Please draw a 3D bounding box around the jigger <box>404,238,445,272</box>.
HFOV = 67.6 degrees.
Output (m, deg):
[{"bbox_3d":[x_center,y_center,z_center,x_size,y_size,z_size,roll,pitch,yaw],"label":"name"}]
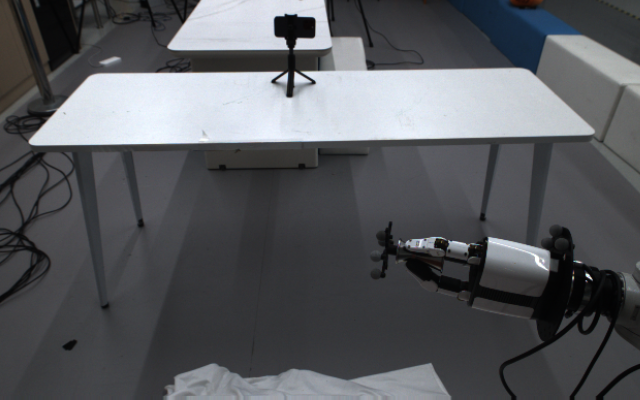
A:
[{"bbox_3d":[0.156,0.075,0.717,0.071,0.043,0.043,8,35,14],"label":"jigger"}]
